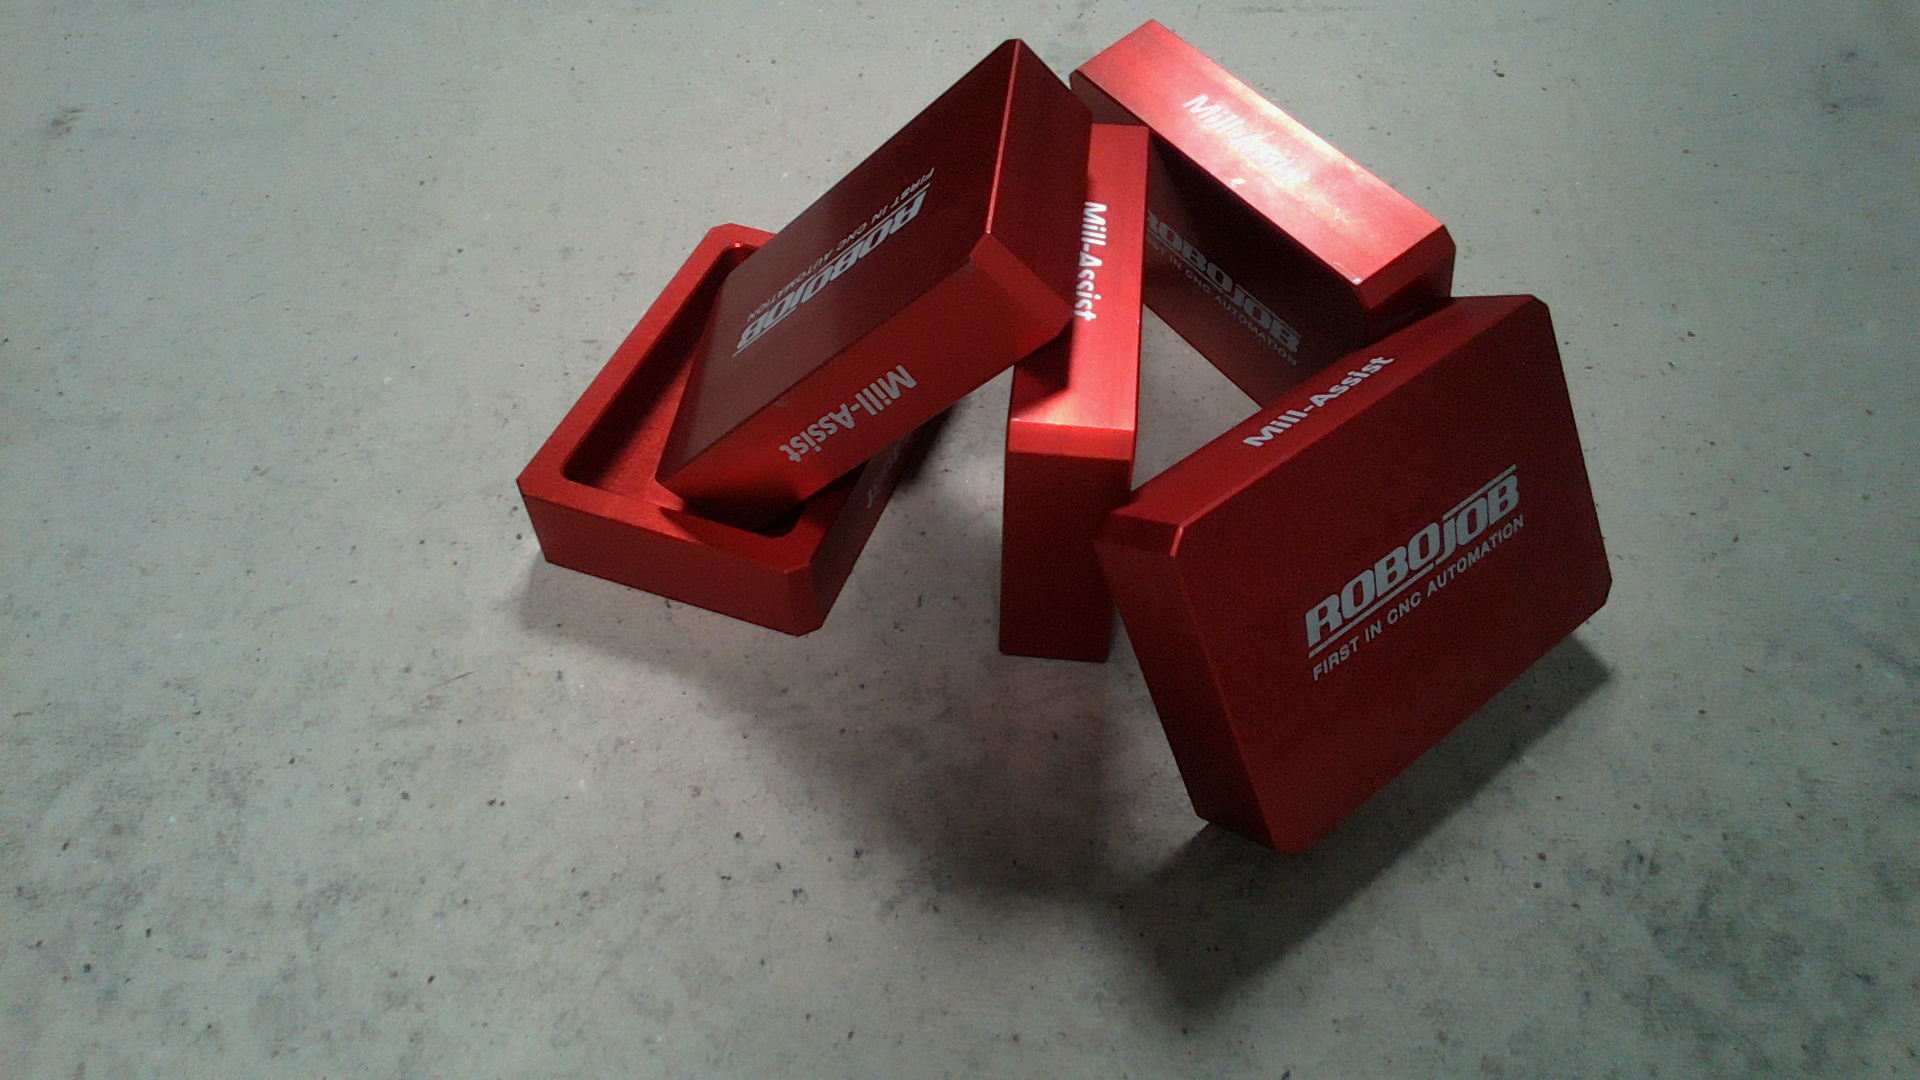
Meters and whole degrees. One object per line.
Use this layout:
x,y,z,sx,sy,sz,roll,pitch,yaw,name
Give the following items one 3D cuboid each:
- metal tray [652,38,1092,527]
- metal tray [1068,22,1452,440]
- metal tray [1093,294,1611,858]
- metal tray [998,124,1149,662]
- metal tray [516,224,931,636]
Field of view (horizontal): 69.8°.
-0.025,-0.066,0.373,0.130,0.030,0.090,-29,38,36,metal tray
0.089,-0.088,0.420,0.030,0.090,0.130,-35,57,-9,metal tray
0.103,0.005,0.345,0.130,0.090,0.030,-32,21,-23,metal tray
0.032,-0.043,0.386,0.030,0.090,0.130,5,51,4,metal tray
-0.061,-0.039,0.422,0.090,0.030,0.130,15,52,13,metal tray
